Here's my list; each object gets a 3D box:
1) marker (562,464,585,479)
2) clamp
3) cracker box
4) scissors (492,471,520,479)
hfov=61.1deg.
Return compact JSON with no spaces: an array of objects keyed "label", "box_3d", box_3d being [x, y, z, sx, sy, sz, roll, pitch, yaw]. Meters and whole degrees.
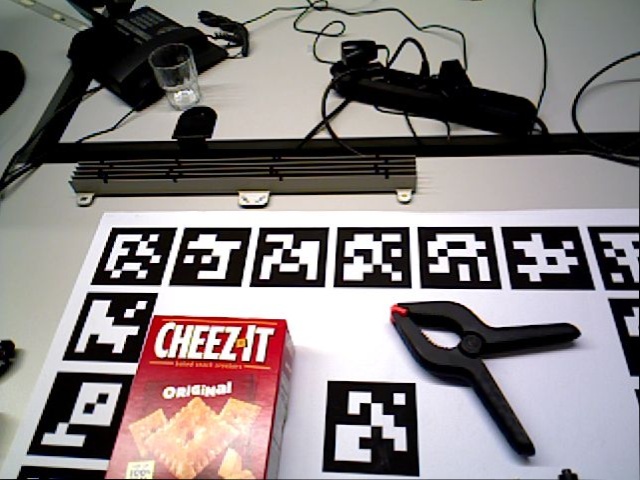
[{"label":"marker","box_3d":[0.246,0.268,0.498,0.019,0.020,0.119,-3,52,5]},{"label":"clamp","box_3d":[0.168,0.122,0.629,0.203,0.037,0.162,26,59,24]},{"label":"cracker box","box_3d":[-0.121,0.187,0.579,0.164,0.073,0.210,1,53,8]},{"label":"scissors","box_3d":[0.106,0.265,0.520,0.200,0.016,0.087,-22,52,-12]}]
